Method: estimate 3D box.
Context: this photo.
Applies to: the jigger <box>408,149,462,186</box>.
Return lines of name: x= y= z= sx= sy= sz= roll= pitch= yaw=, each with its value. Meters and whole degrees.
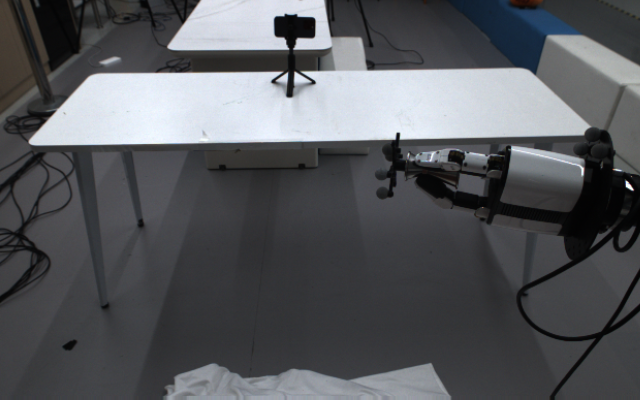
jigger: x=0.154 y=-0.045 z=0.631 sx=0.071 sy=0.043 sz=0.043 roll=7 pitch=35 yaw=15
